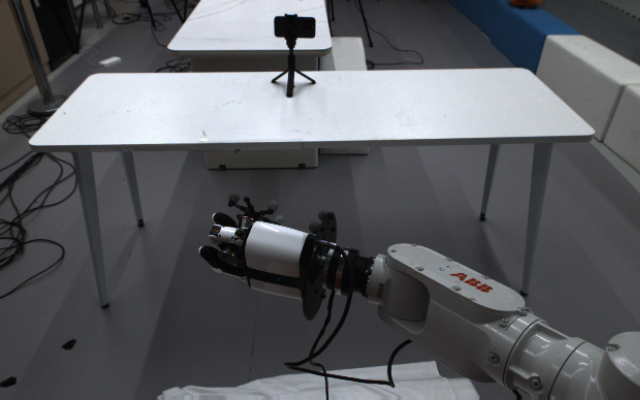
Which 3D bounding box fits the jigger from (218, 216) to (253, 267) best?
[{"bbox_3d":[-0.119,0.063,0.739,0.043,0.043,0.071,13,58,16],"label":"jigger"}]
